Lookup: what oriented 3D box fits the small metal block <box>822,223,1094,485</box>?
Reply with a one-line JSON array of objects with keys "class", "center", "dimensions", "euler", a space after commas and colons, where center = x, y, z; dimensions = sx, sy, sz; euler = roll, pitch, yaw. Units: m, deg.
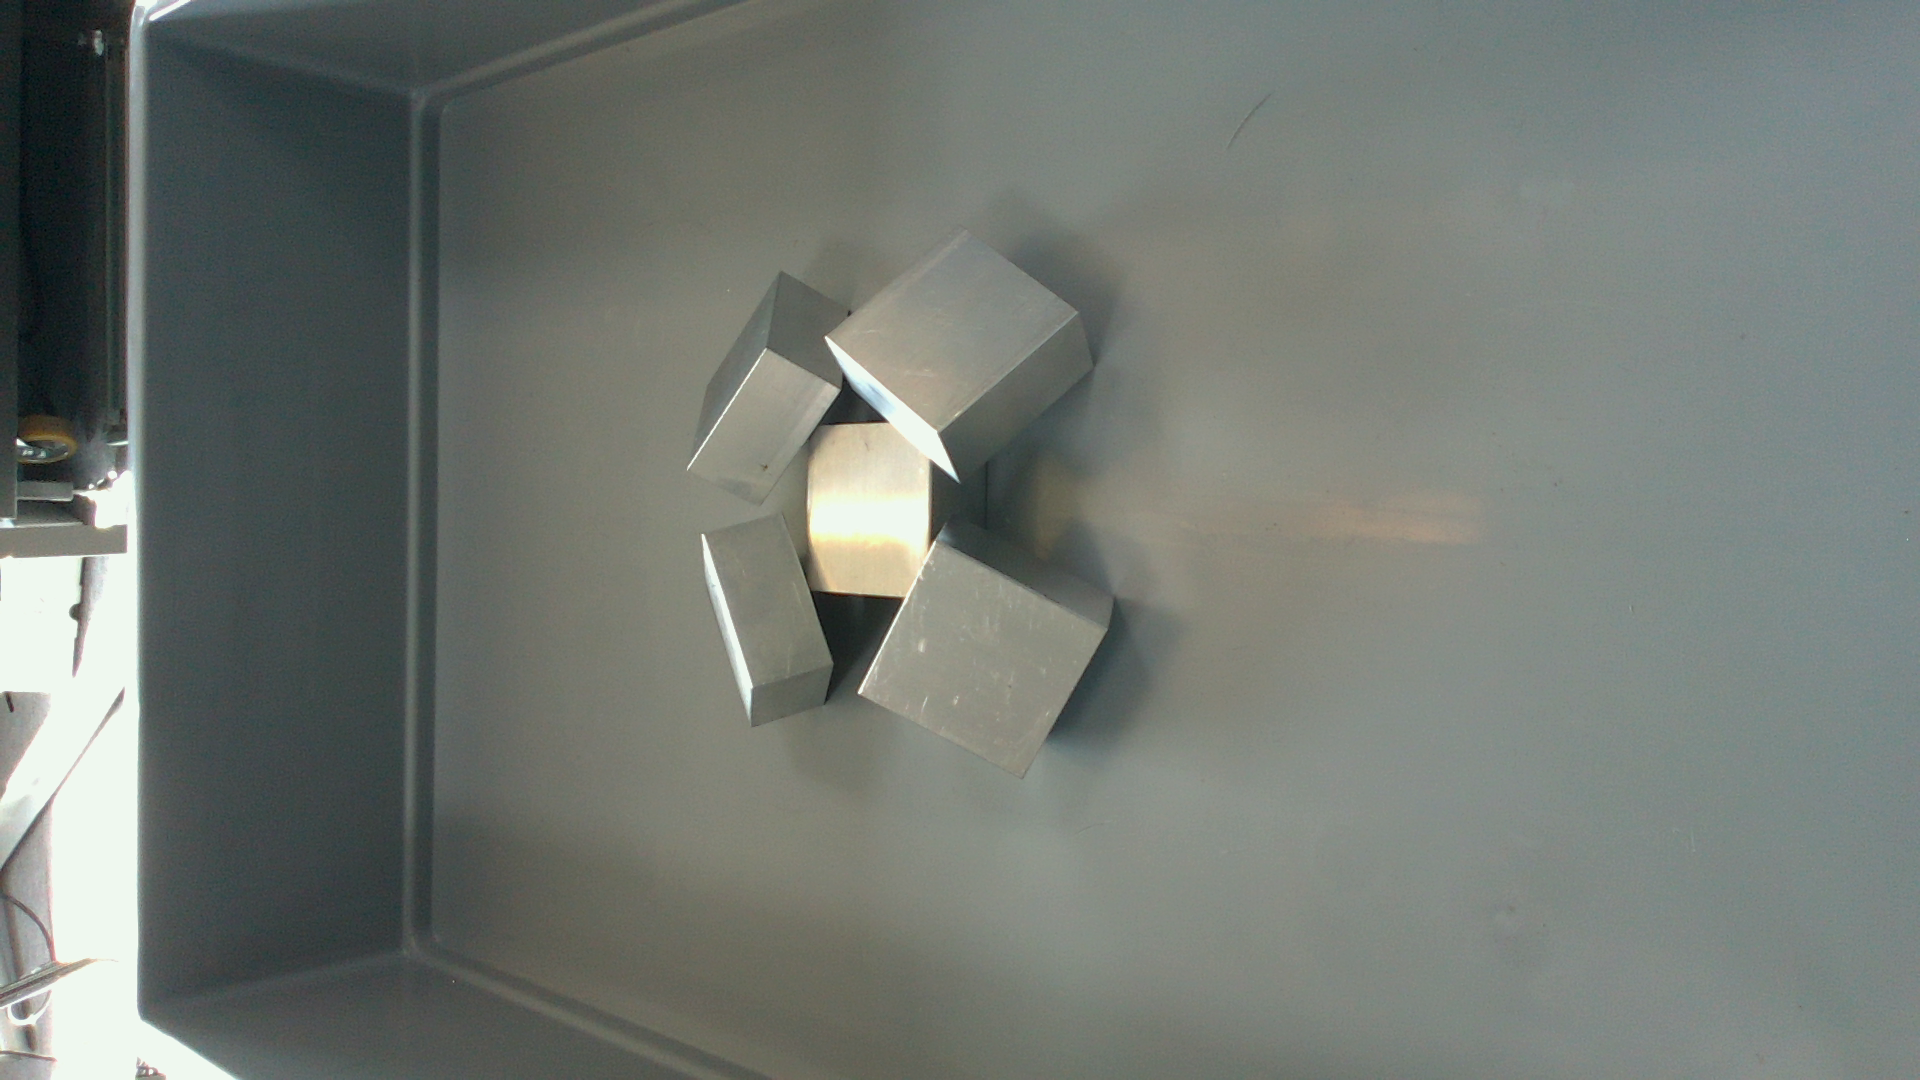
[{"class": "small metal block", "center": [0.000, -0.052, 0.377], "dimensions": [0.050, 0.025, 0.050], "euler": [-42, 58, -10]}]

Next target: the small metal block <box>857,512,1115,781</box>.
[{"class": "small metal block", "center": [0.007, 0.028, 0.372], "dimensions": [0.050, 0.025, 0.050], "euler": [27, 110, 1]}]

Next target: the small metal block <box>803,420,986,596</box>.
[{"class": "small metal block", "center": [-0.020, -0.010, 0.409], "dimensions": [0.050, 0.025, 0.050], "euler": [2, 91, 40]}]

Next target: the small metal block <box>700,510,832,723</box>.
[{"class": "small metal block", "center": [-0.061, 0.025, 0.429], "dimensions": [0.050, 0.025, 0.050], "euler": [113, 138, -68]}]

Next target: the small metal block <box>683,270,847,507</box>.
[{"class": "small metal block", "center": [-0.059, -0.047, 0.426], "dimensions": [0.050, 0.025, 0.050], "euler": [-51, 23, 29]}]
